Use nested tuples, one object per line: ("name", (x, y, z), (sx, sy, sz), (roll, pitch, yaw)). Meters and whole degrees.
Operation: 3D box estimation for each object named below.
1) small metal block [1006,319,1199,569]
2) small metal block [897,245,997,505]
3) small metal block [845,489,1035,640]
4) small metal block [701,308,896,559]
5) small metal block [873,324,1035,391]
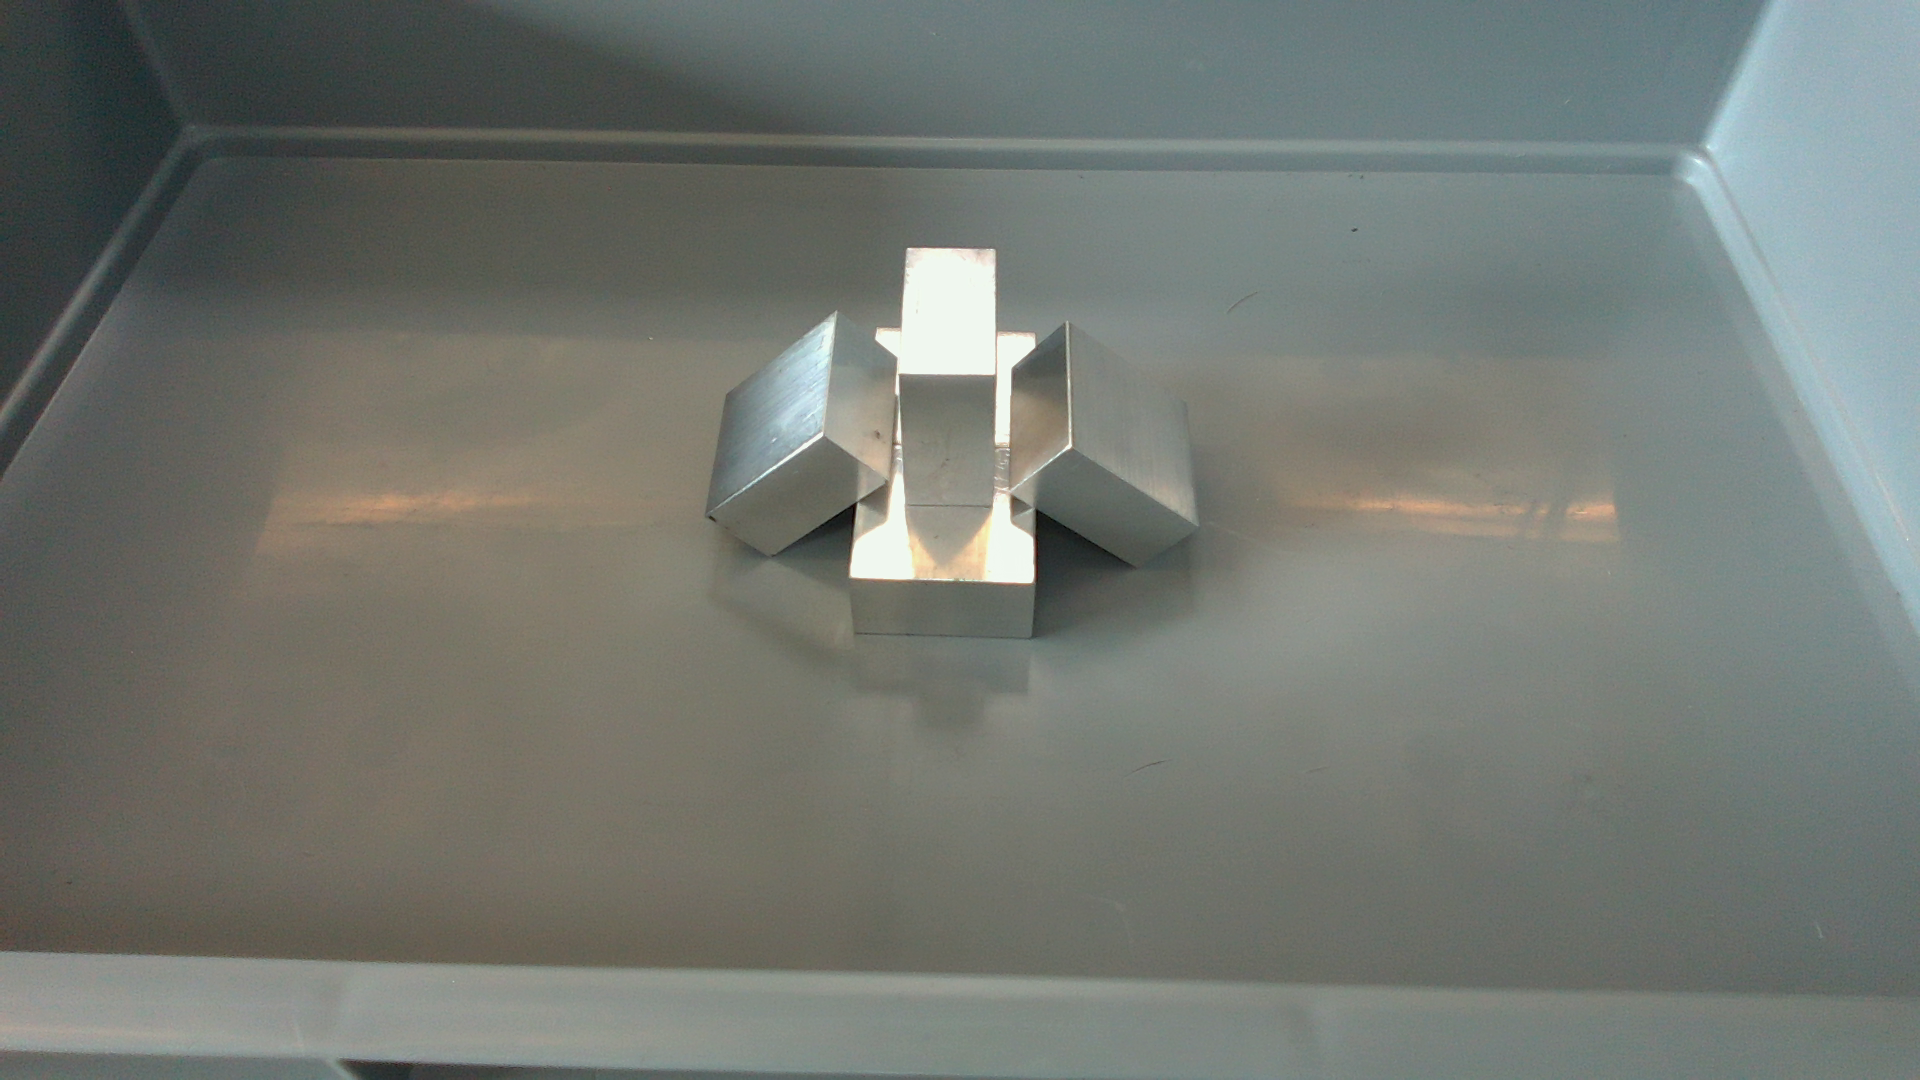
("small metal block", (0.041, -0.027, 0.397), (0.050, 0.025, 0.050), (29, 44, -28))
("small metal block", (-0.003, -0.045, 0.378), (0.025, 0.050, 0.050), (1, 50, 0))
("small metal block", (-0.004, 0.000, 0.389), (0.050, 0.025, 0.050), (2, 50, 2))
("small metal block", (-0.046, -0.030, 0.398), (0.050, 0.025, 0.050), (-31, 40, 32))
("small metal block", (-0.003, -0.039, 0.422), (0.050, 0.025, 0.050), (2, 50, 1))
